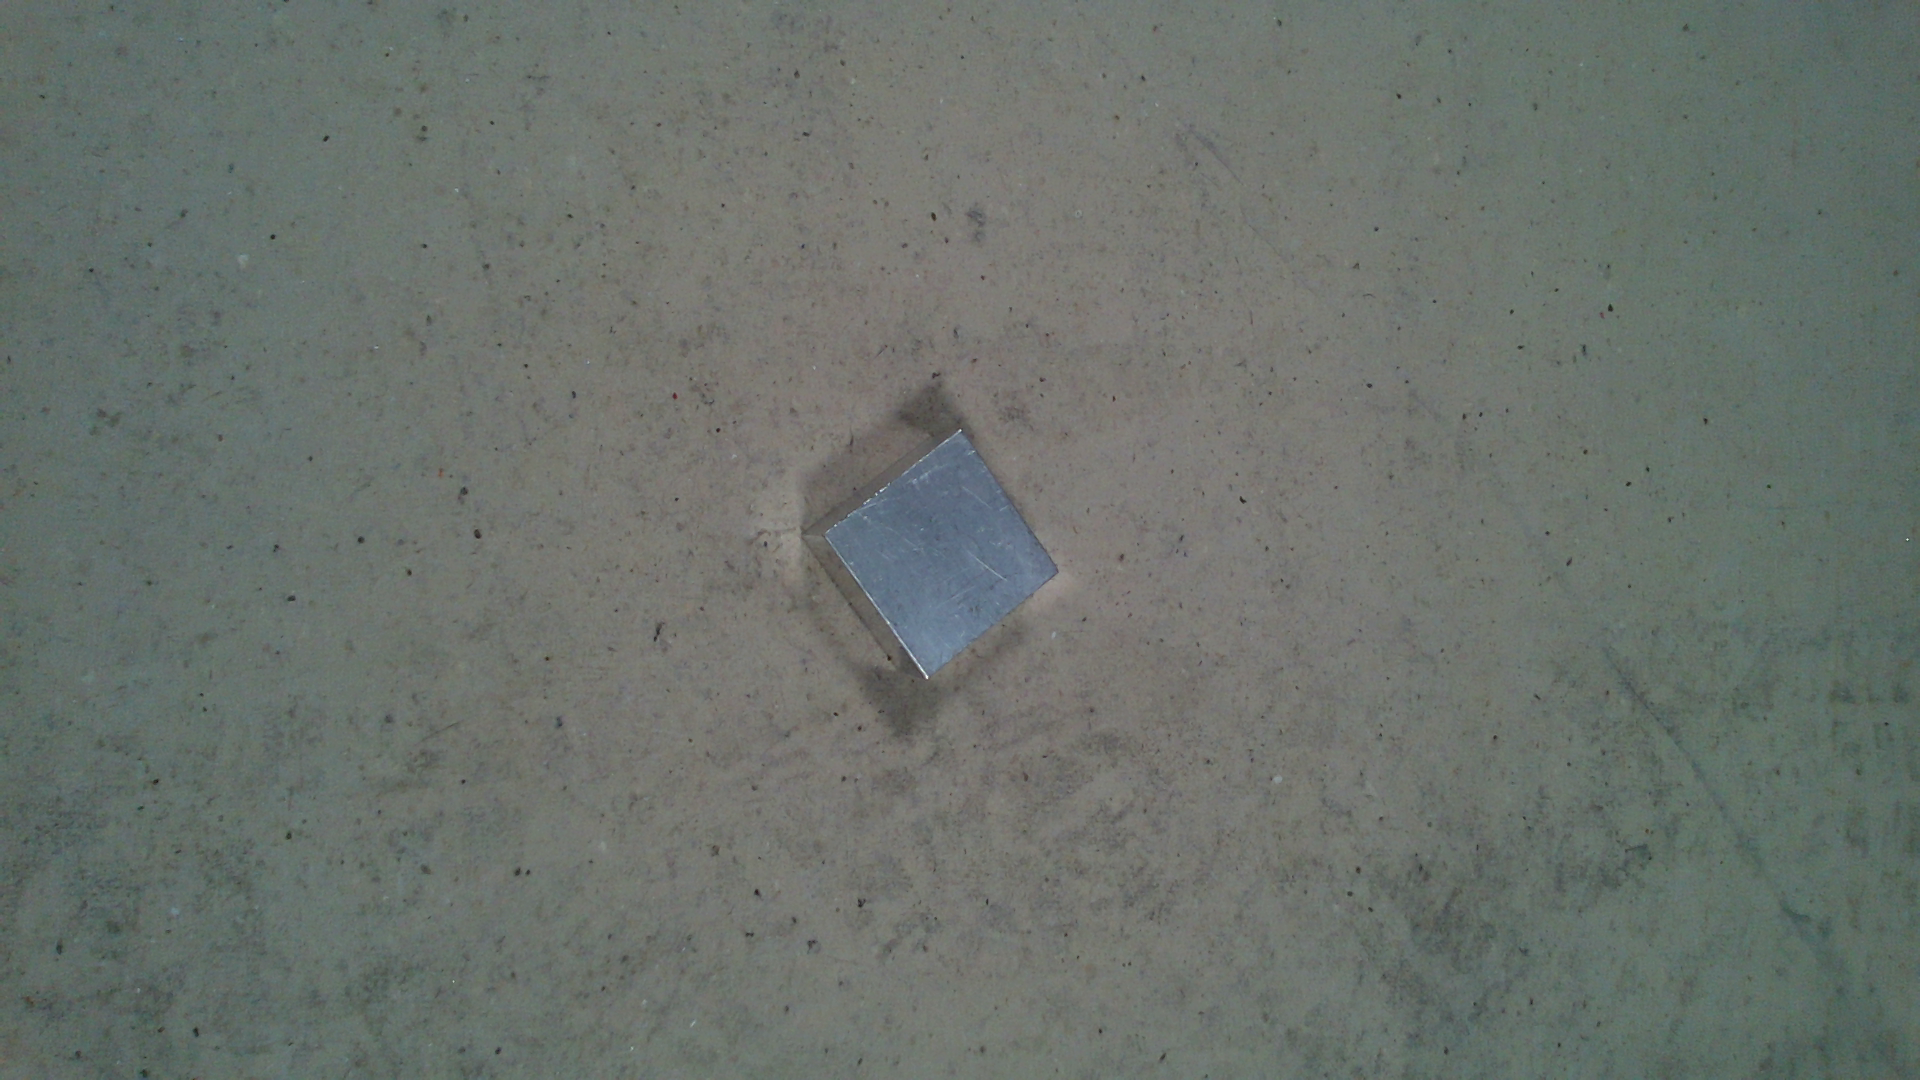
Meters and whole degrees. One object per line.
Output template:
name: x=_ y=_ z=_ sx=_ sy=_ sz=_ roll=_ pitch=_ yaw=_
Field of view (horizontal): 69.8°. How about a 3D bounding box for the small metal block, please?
small metal block: x=-0.009 y=0.004 z=0.391 sx=0.050 sy=0.025 sz=0.050 roll=-38 pitch=102 yaw=-16
